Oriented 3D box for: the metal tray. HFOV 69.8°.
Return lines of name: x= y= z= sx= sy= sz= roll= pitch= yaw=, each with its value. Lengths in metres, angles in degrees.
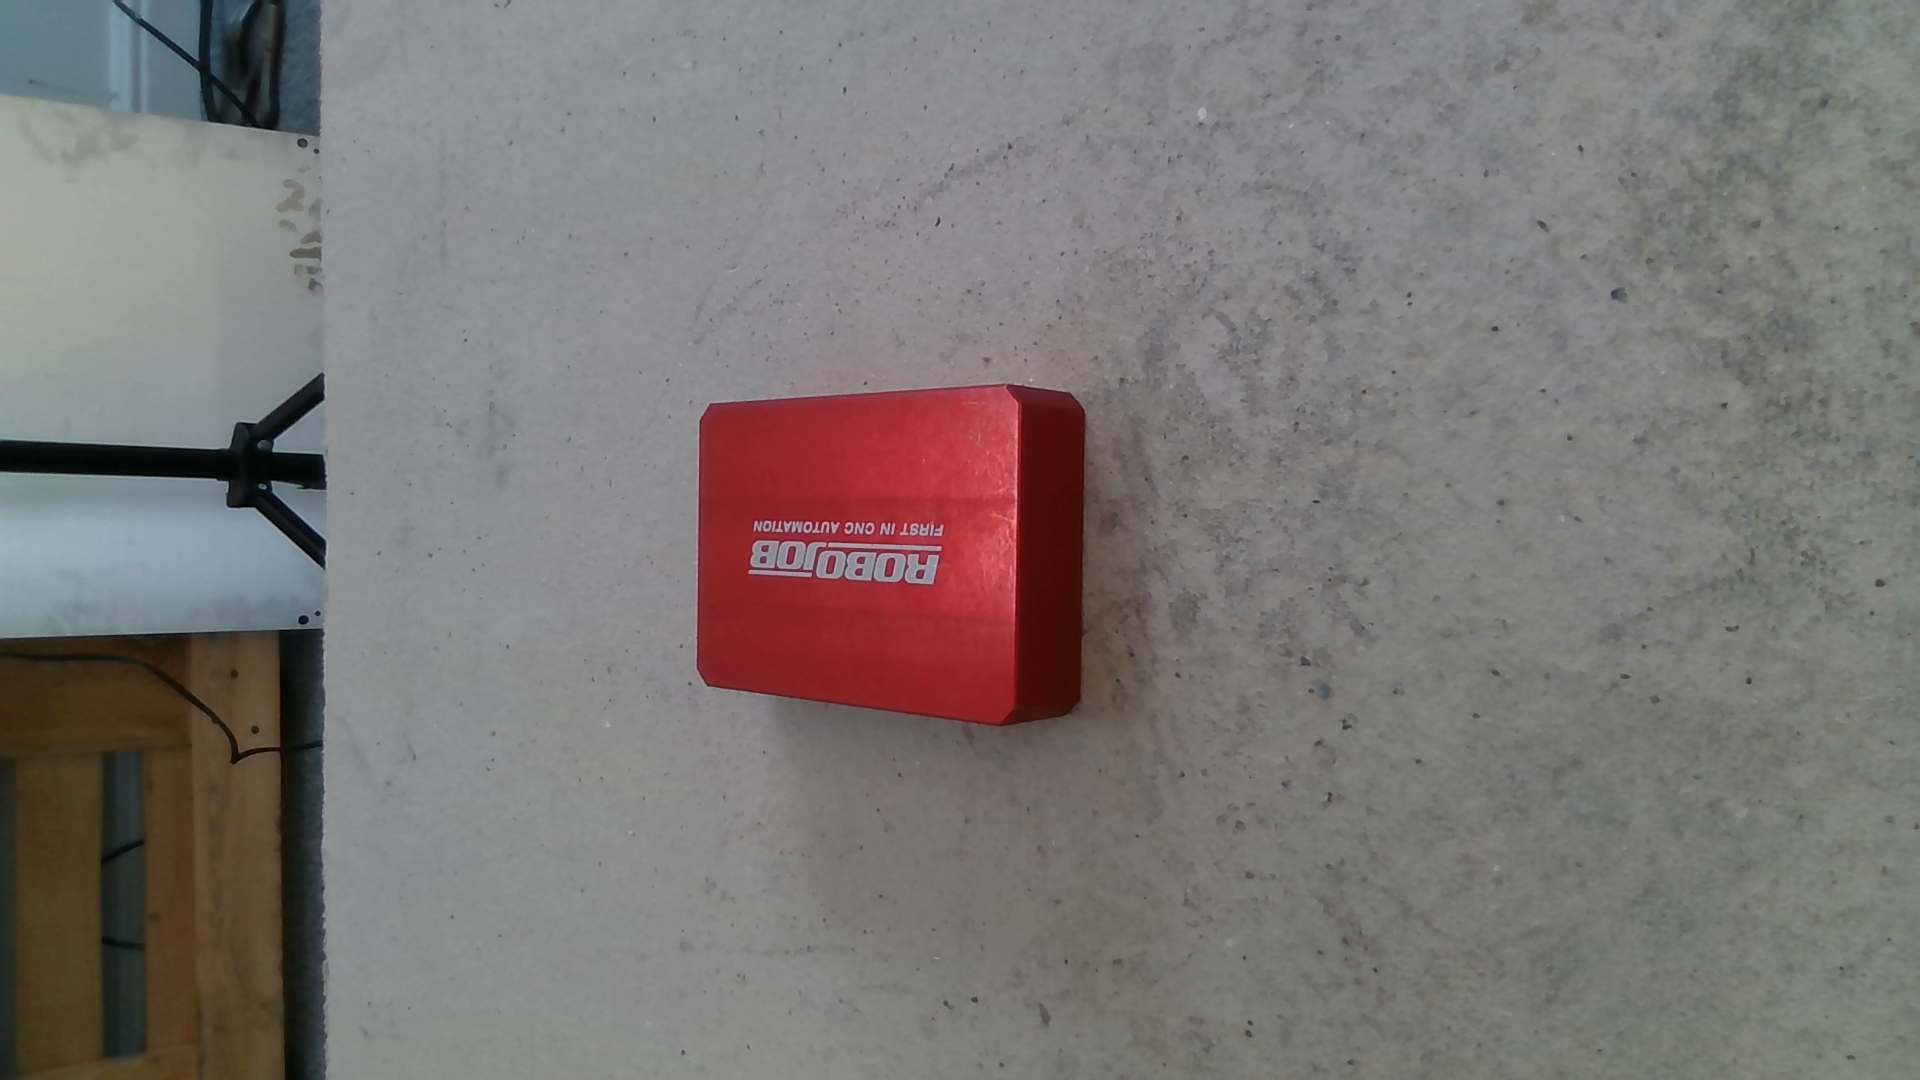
metal tray: x=-0.026 y=0.003 z=0.408 sx=0.130 sy=0.030 sz=0.090 roll=1 pitch=92 yaw=41
